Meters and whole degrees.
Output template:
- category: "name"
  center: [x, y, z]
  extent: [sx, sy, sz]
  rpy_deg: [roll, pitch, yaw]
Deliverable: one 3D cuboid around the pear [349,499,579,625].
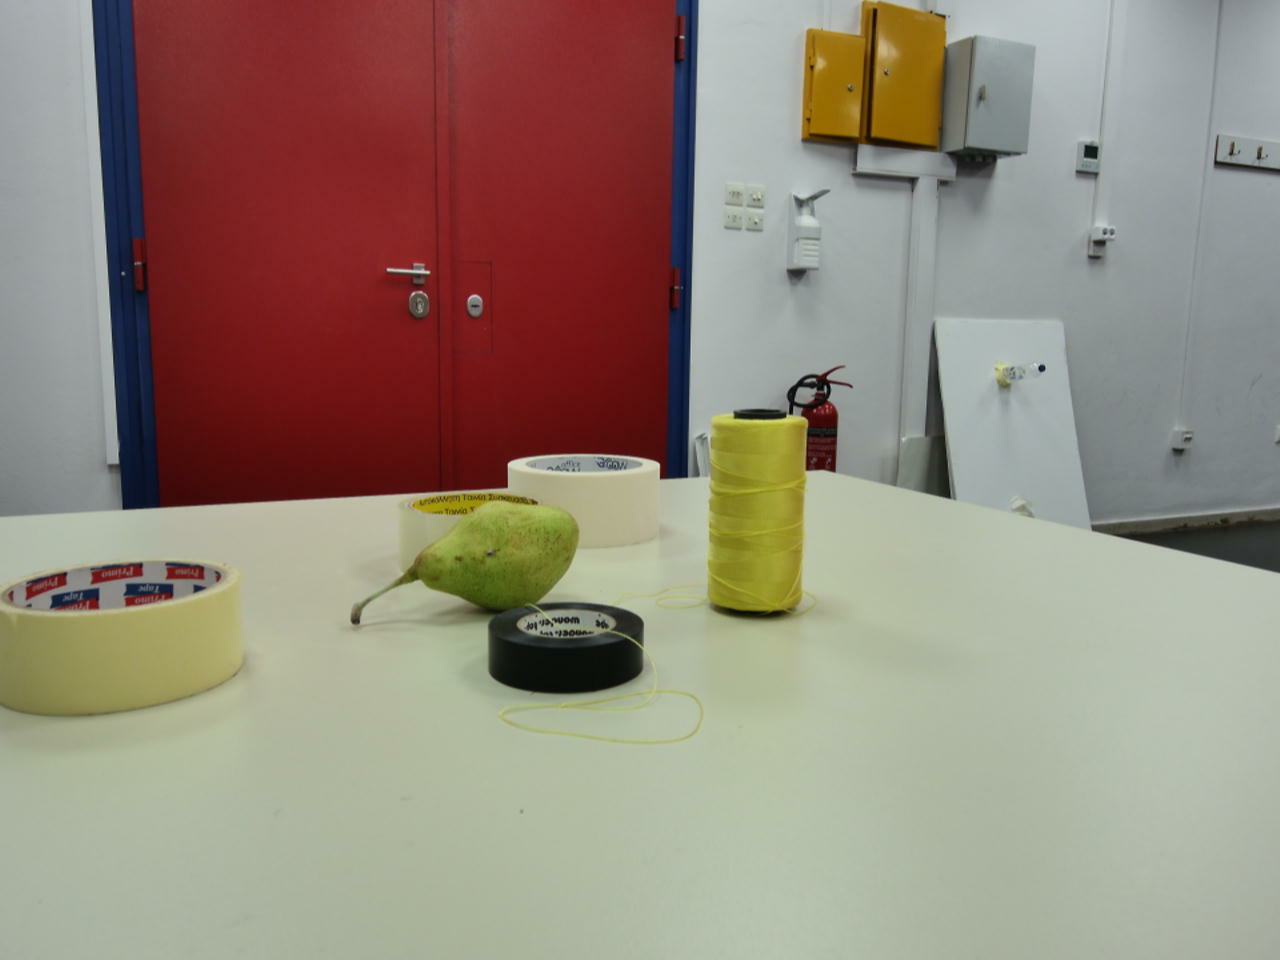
- category: "pear"
  center: [-0.087, 0.039, 0.505]
  extent: [0.111, 0.056, 0.056]
  rpy_deg: [-1, 6, -10]
